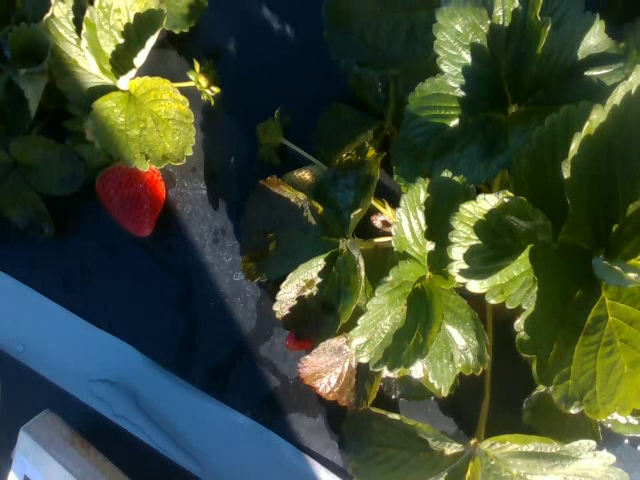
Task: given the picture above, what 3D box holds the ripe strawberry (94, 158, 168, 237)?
[{"bbox_3d":[-0.115,-0.023,0.381,0.045,0.059,0.042,-25,-7,37],"label":"ripe strawberry"}]
